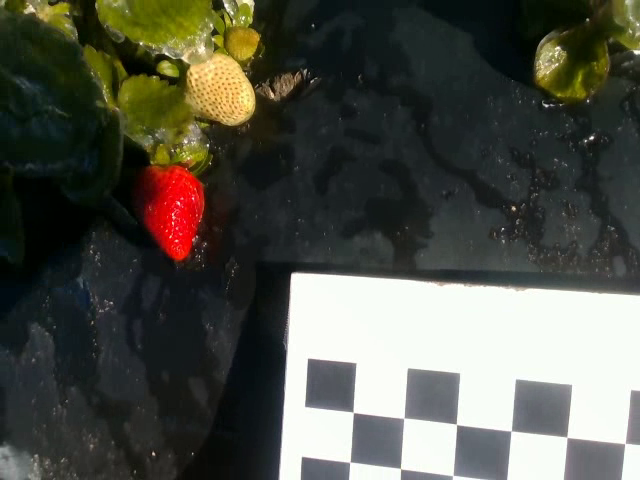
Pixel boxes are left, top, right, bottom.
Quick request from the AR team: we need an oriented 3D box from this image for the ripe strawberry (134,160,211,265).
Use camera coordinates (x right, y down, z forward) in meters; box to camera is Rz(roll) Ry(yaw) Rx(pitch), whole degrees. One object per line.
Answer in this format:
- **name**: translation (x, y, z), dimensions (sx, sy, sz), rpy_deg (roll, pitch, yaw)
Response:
- **ripe strawberry**: translation (-0.080, -0.012, 0.282), dimensions (0.041, 0.052, 0.040), rpy_deg (-15, -9, 11)
